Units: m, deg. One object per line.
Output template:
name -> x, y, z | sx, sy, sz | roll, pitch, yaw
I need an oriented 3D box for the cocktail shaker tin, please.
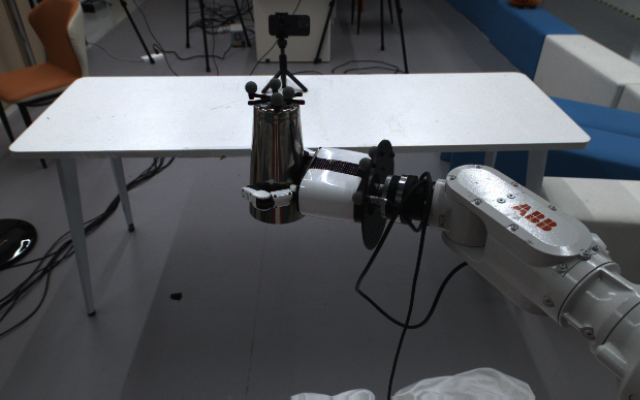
cocktail shaker tin -> -0.063, -0.061, 0.722 | 0.093, 0.170, 0.093 | 1, 28, -1
